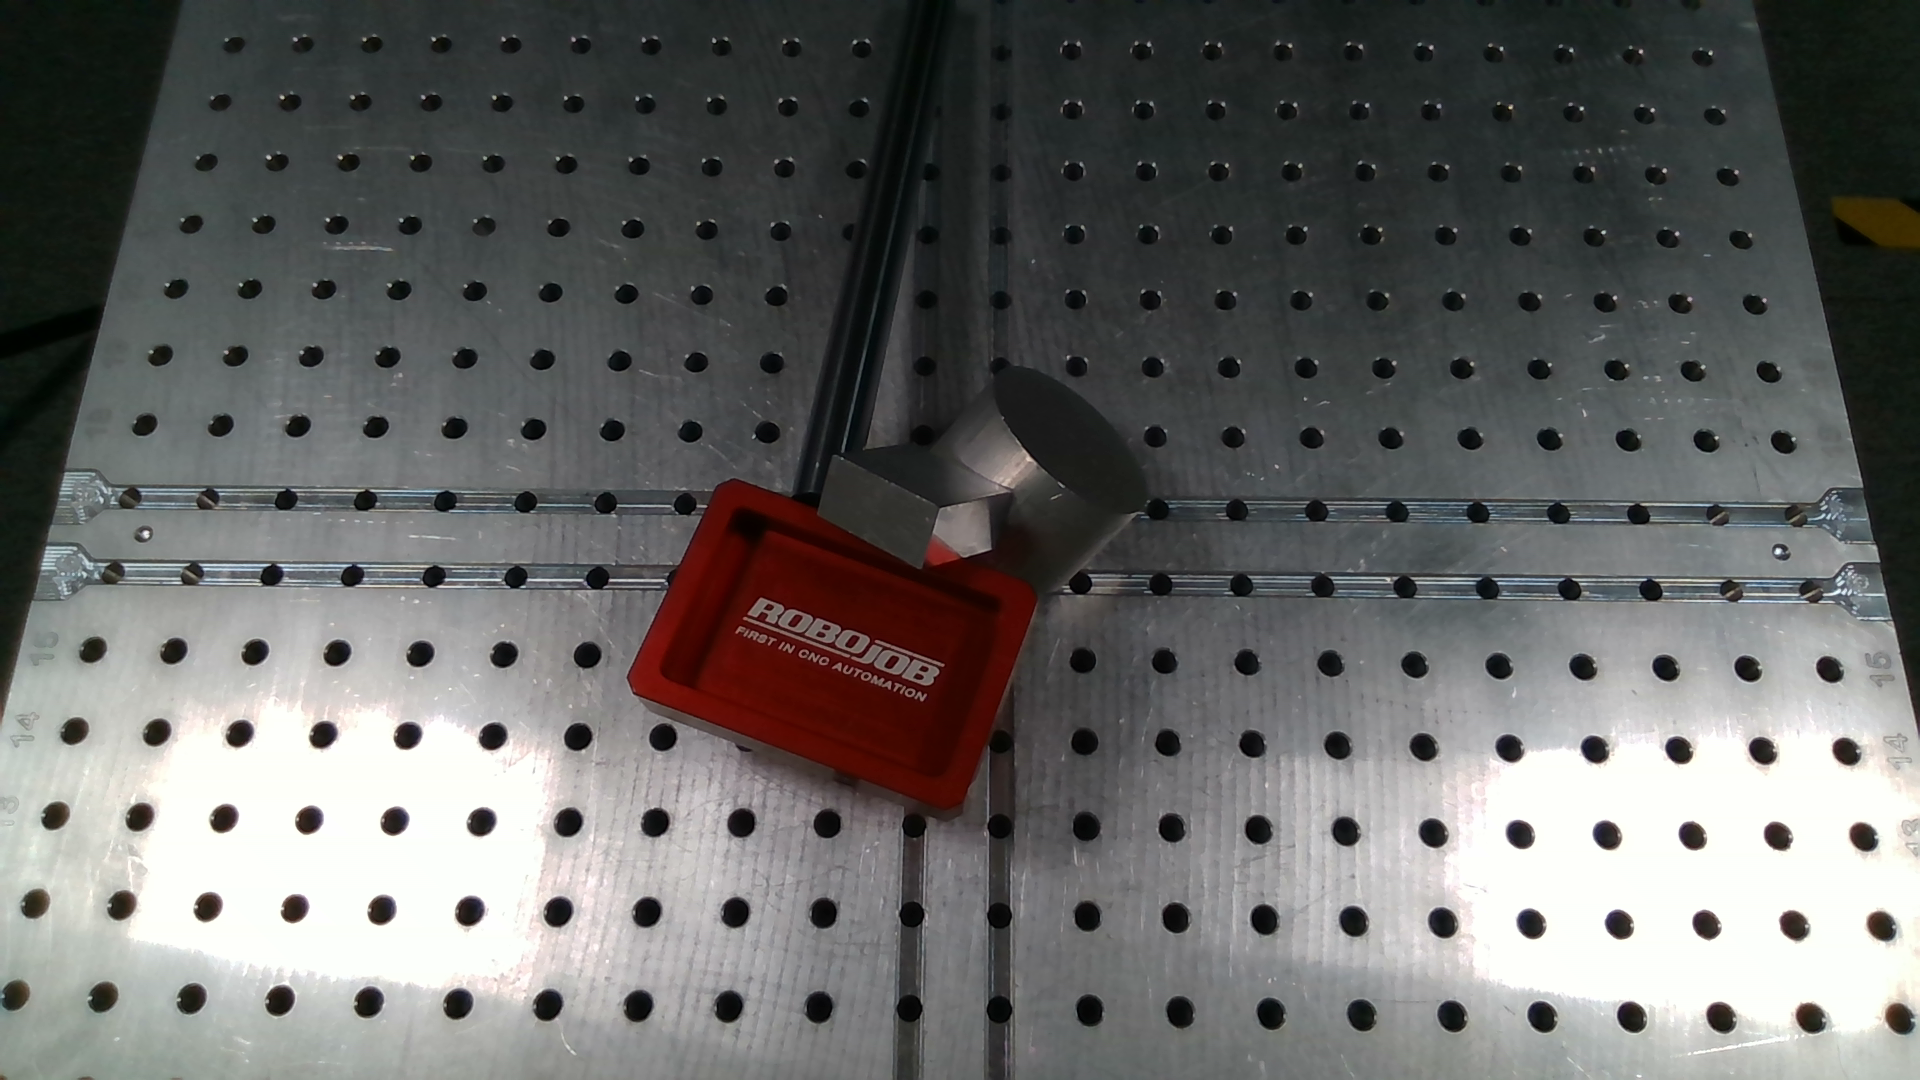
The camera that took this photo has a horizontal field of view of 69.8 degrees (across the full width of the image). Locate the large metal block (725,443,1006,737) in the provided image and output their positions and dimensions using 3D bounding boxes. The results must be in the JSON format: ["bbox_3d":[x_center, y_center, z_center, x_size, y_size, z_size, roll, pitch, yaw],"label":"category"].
[{"bbox_3d":[-0.038,0.021,0.568,0.080,0.050,0.080,-34,74,-11],"label":"large metal block"}]

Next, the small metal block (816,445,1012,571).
[{"bbox_3d":[-0.017,-0.014,0.518,0.050,0.050,0.025,27,112,27],"label":"small metal block"}]

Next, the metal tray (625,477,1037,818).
[{"bbox_3d":[-0.046,0.040,0.517,0.130,0.030,0.090,19,71,7],"label":"metal tray"}]

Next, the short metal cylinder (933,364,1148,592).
[{"bbox_3d":[0.030,-0.025,0.564,0.050,0.080,0.080,-46,71,30],"label":"short metal cylinder"}]

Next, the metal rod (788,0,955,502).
[{"bbox_3d":[-0.034,-0.140,0.609,0.025,0.025,0.299,8,59,3],"label":"metal rod"}]
